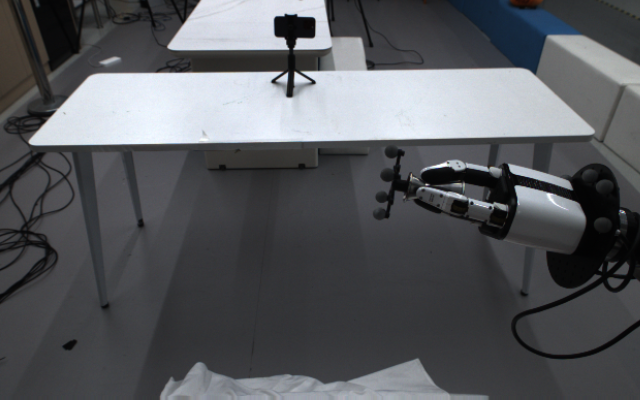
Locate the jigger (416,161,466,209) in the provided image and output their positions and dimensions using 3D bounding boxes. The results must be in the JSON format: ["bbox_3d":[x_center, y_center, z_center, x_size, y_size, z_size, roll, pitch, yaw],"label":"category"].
[{"bbox_3d":[0.150,-0.012,0.616,0.071,0.043,0.043,12,35,3],"label":"jigger"}]
